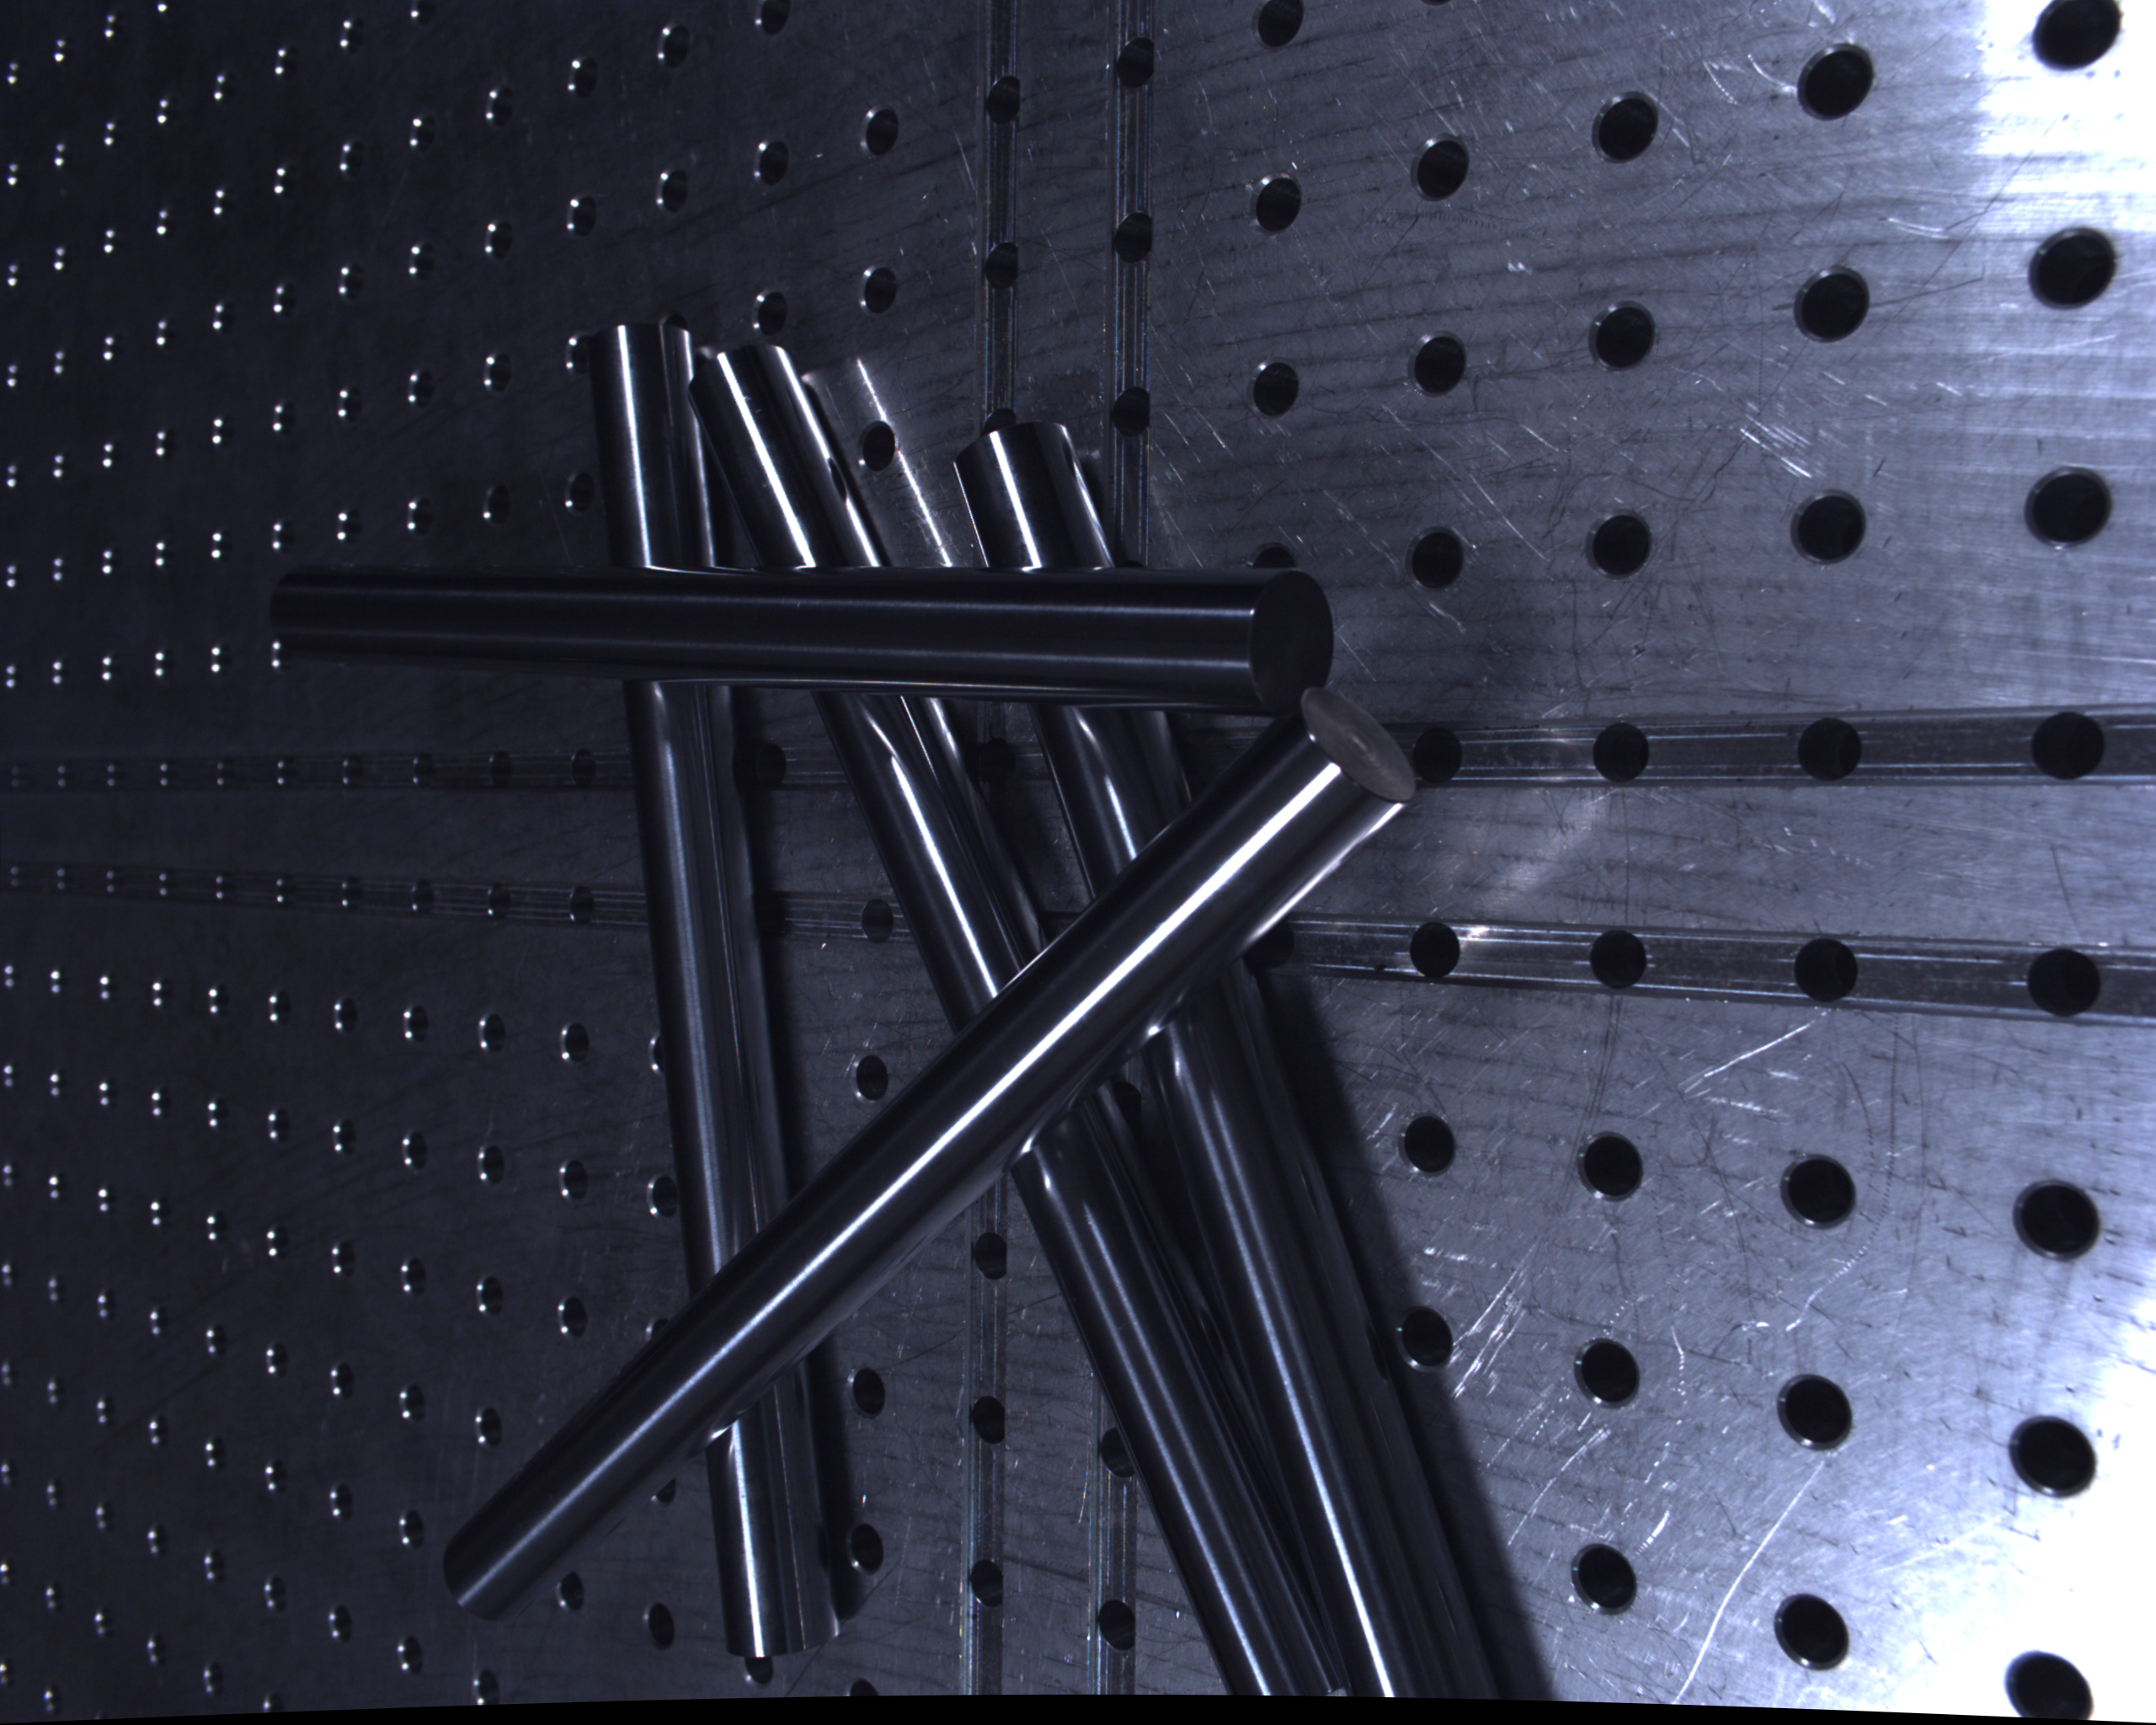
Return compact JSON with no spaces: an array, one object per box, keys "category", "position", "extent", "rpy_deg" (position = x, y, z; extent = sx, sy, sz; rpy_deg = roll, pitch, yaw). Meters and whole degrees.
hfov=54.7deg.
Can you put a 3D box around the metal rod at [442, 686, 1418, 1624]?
[{"category":"metal rod","position":[-0.045,0.073,0.411],"extent":[0.299,0.025,0.025],"rpy_deg":[-45,63,30]}]

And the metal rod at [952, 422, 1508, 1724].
[{"category":"metal rod","position":[0.031,0.056,0.382],"extent":[0.025,0.025,0.299],"rpy_deg":[-28,72,36]}]

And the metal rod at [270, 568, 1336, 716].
[{"category":"metal rod","position":[-0.080,-0.050,0.440],"extent":[0.300,0.025,0.025],"rpy_deg":[7,94,39]}]

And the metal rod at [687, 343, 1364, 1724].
[{"category":"metal rod","position":[-0.018,0.021,0.421],"extent":[0.025,0.025,0.299],"rpy_deg":[-37,68,33]}]

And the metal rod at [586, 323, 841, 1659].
[{"category":"metal rod","position":[-0.084,0.025,0.475],"extent":[0.025,0.025,0.298],"rpy_deg":[-12,82,39]}]
